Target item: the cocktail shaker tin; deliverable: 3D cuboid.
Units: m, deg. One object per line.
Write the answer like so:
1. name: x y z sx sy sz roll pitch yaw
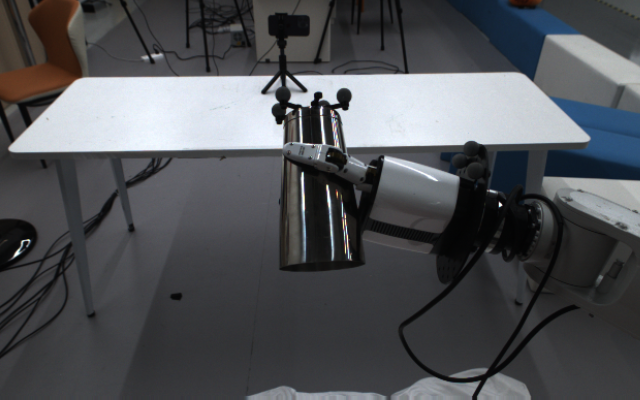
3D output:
1. cocktail shaker tin: -0.002 -0.011 0.532 0.093 0.093 0.170 -3 76 -7
